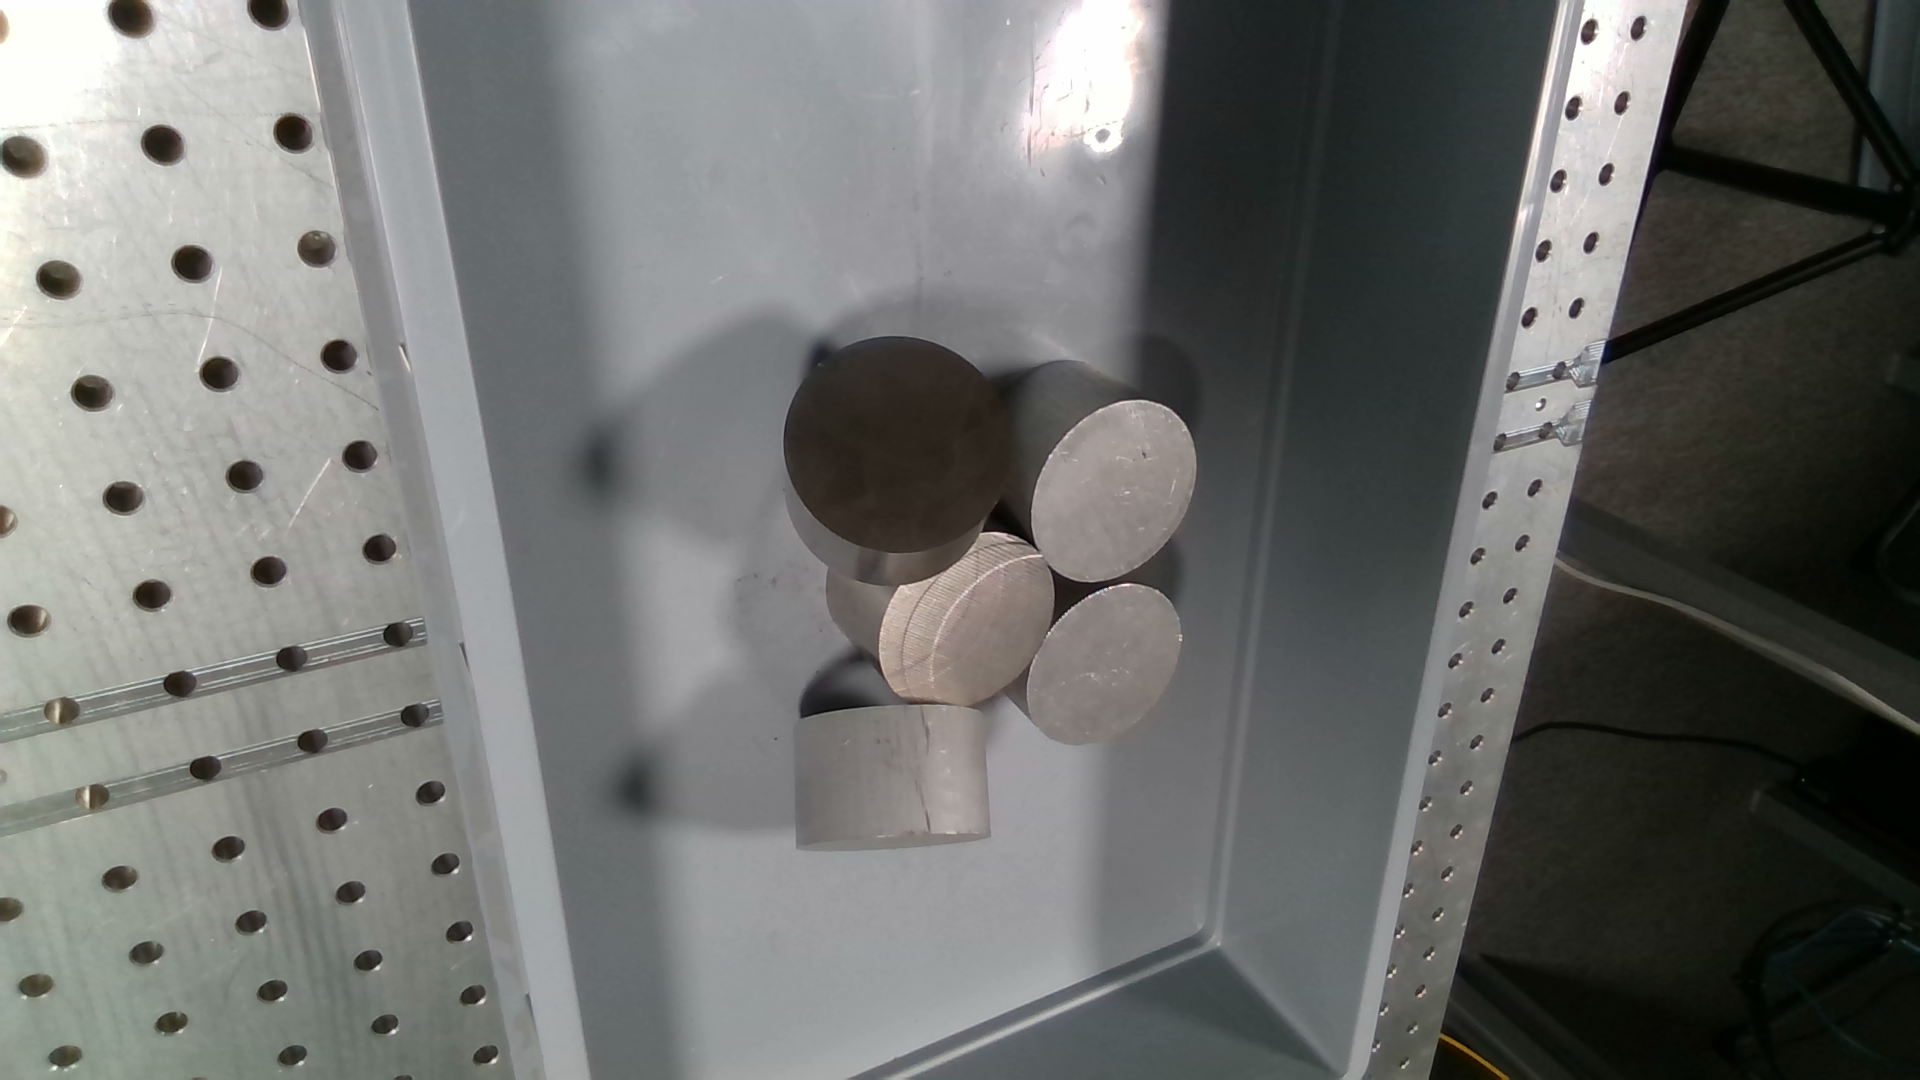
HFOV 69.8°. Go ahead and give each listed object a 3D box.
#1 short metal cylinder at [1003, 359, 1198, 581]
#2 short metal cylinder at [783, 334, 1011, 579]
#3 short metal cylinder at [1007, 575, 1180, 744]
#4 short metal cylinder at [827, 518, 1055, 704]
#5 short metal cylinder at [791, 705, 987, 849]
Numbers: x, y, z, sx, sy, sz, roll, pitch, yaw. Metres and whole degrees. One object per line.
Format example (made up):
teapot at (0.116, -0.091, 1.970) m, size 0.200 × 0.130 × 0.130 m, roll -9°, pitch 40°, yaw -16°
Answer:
short metal cylinder at (0.052, -0.030, 0.578) m, size 0.080 × 0.050 × 0.080 m, roll -14°, pitch 122°, yaw -25°
short metal cylinder at (-0.025, -0.029, 0.506) m, size 0.080 × 0.080 × 0.050 m, roll -32°, pitch 171°, yaw -14°
short metal cylinder at (0.051, 0.044, 0.619) m, size 0.080 × 0.050 × 0.080 m, roll -14°, pitch 122°, yaw -25°
short metal cylinder at (-0.008, 0.024, 0.569) m, size 0.080 × 0.050 × 0.080 m, roll -14°, pitch 122°, yaw -25°
short metal cylinder at (-0.029, 0.100, 0.572) m, size 0.080 × 0.080 × 0.050 m, roll 7°, pitch 71°, yaw -34°
